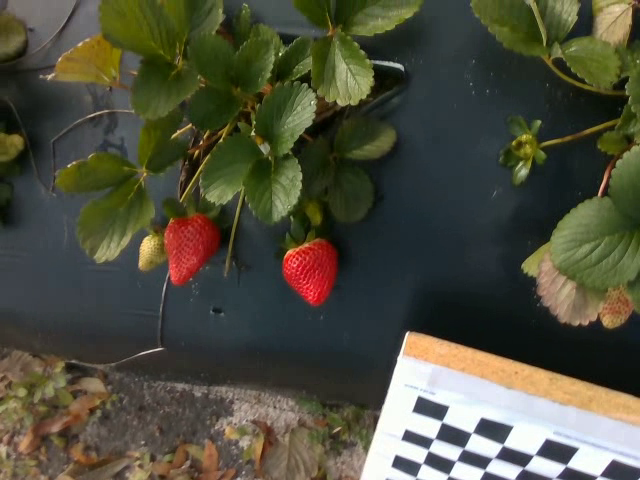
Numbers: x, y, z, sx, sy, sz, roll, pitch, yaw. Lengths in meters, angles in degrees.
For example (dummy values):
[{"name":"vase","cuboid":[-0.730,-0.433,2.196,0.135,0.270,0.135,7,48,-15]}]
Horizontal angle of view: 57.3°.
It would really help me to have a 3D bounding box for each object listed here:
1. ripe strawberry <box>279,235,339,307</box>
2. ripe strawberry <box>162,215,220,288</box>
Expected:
[{"name":"ripe strawberry","cuboid":[-0.005,0.018,0.298,0.033,0.039,0.038,7,-33,-10]},{"name":"ripe strawberry","cuboid":[-0.072,0.004,0.309,0.035,0.036,0.041,7,-23,23]}]
